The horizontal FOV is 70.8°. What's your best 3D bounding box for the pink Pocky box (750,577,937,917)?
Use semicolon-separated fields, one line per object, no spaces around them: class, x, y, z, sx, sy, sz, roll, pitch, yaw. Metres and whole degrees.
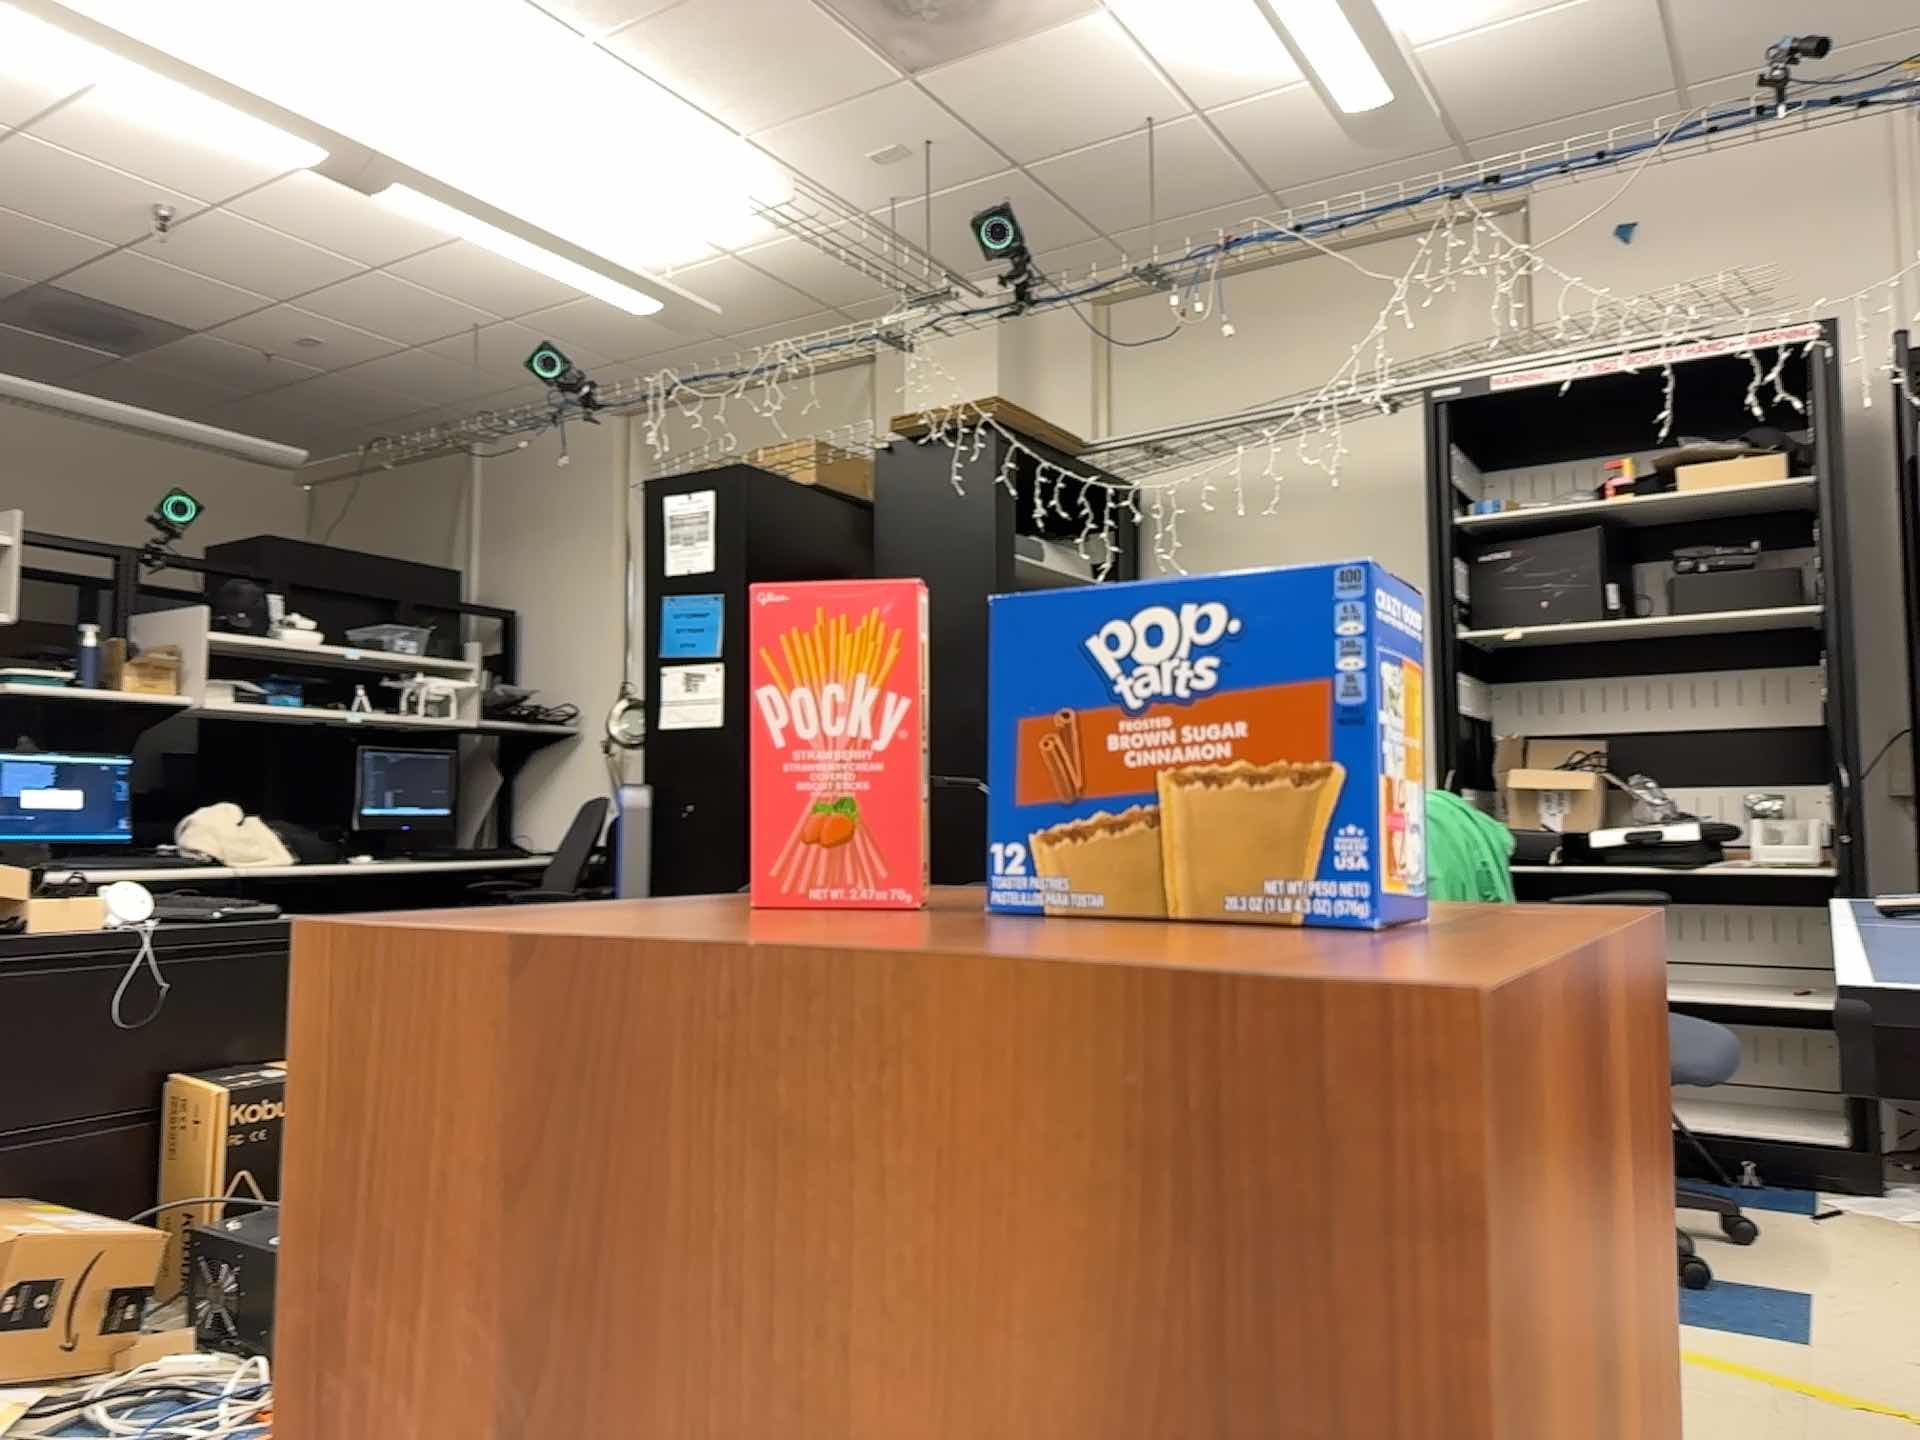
pink Pocky box;-0.054;0.013;0.623;0.084;0.155;0.029;-1;-5;11

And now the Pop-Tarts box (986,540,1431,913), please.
Pop-Tarts box;0.103;0.008;0.571;0.161;0.135;0.075;-2;-8;31
